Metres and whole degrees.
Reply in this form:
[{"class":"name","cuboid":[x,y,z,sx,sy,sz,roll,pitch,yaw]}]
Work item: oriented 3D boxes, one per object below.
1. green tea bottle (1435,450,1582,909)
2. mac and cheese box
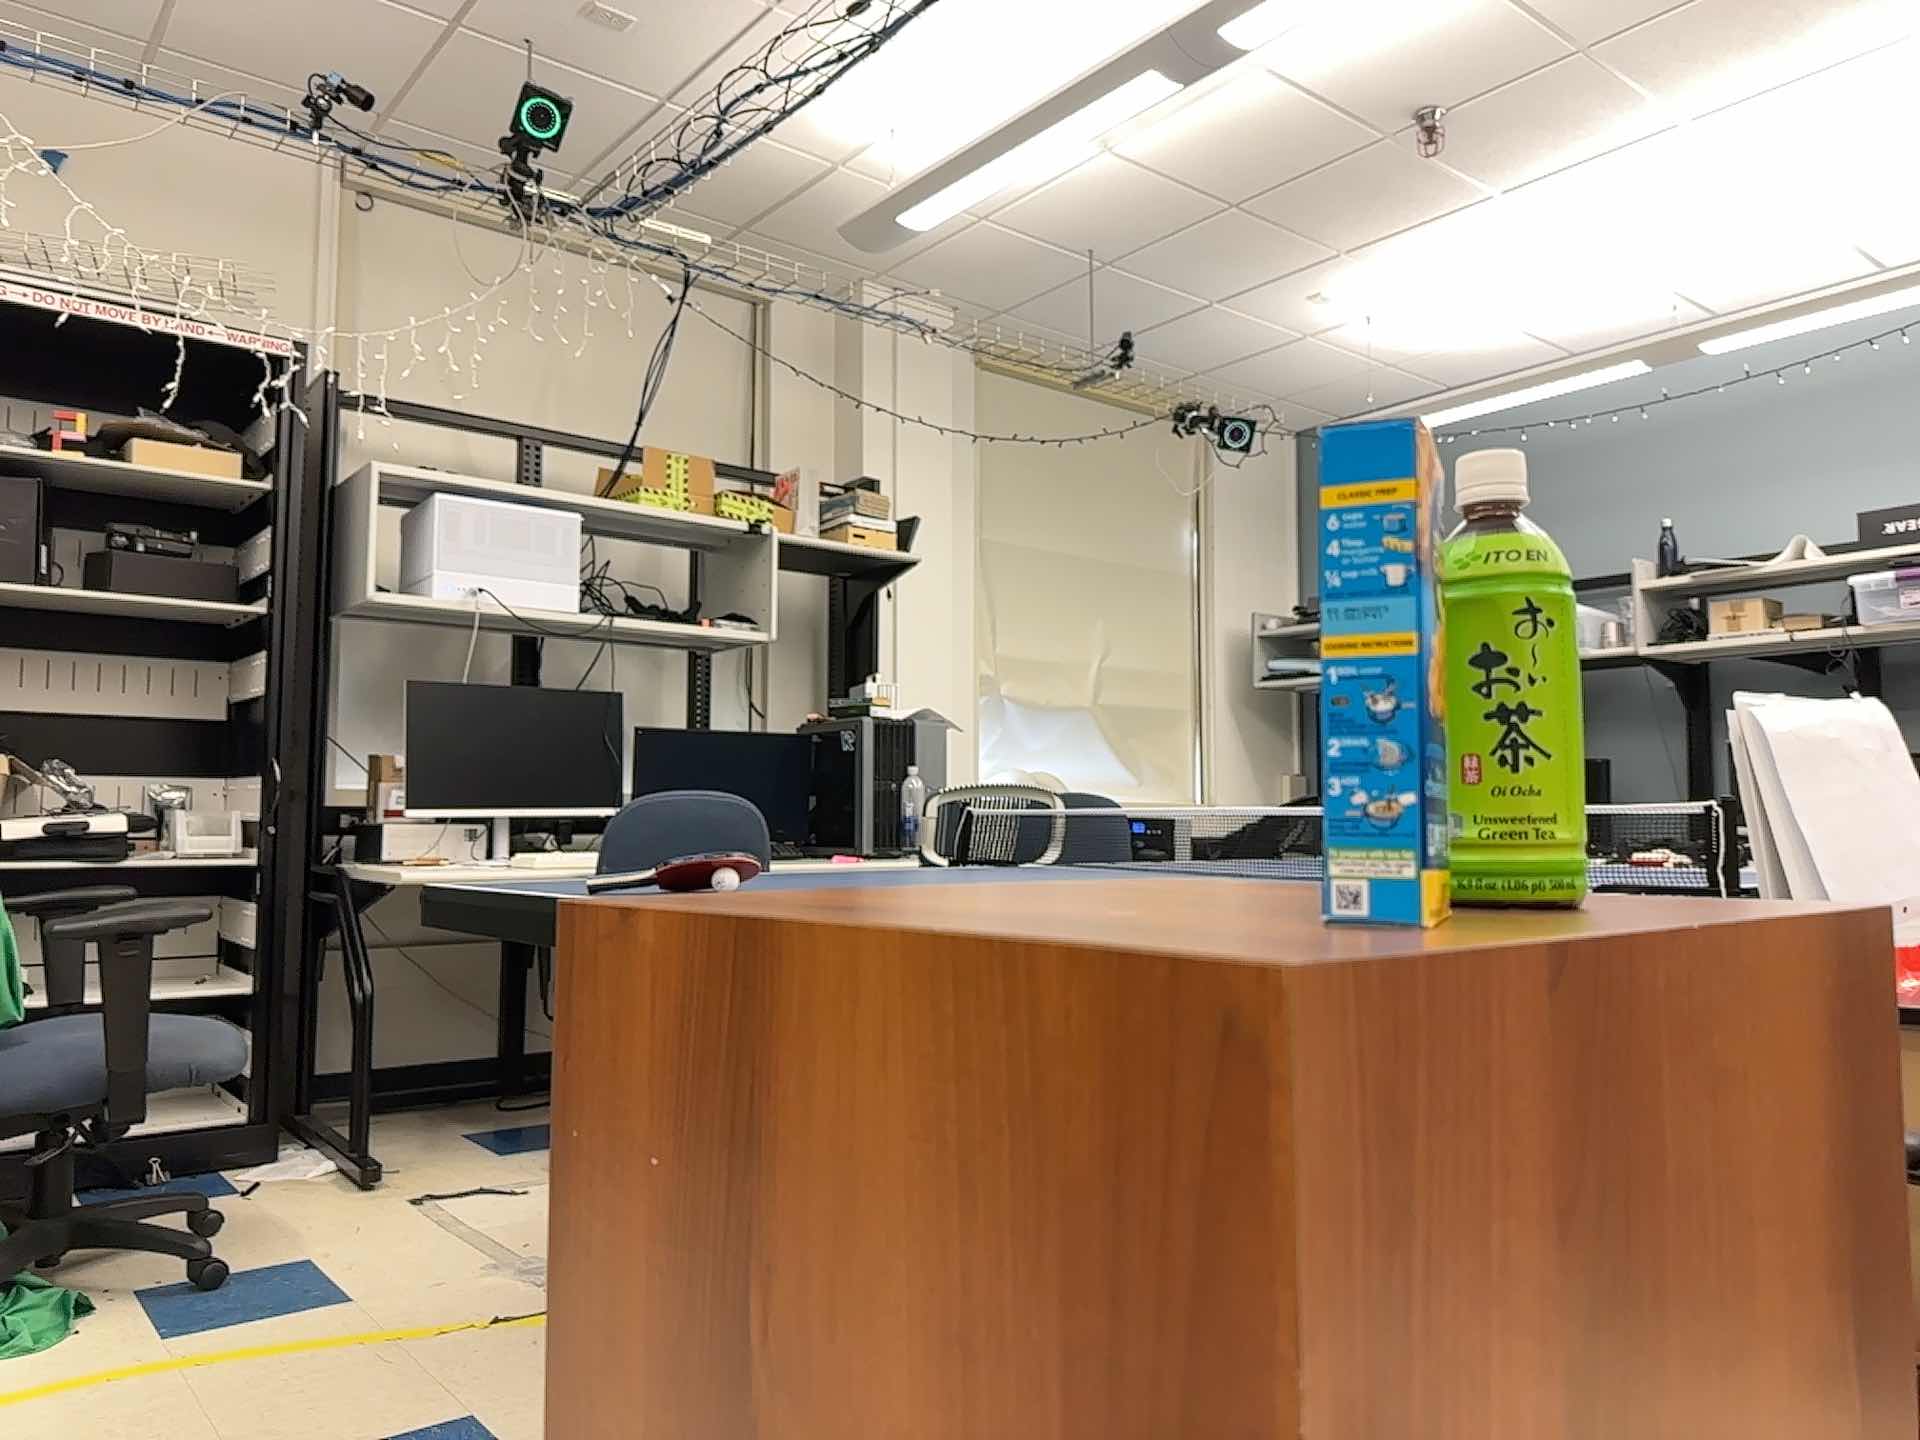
[{"class":"green tea bottle","cuboid":[0.248,-0.020,0.631,0.073,0.212,0.073,2,-8,0]},{"class":"mac and cheese box","cuboid":[0.163,-0.016,0.527,0.035,0.181,0.088,-2,-6,27]}]
